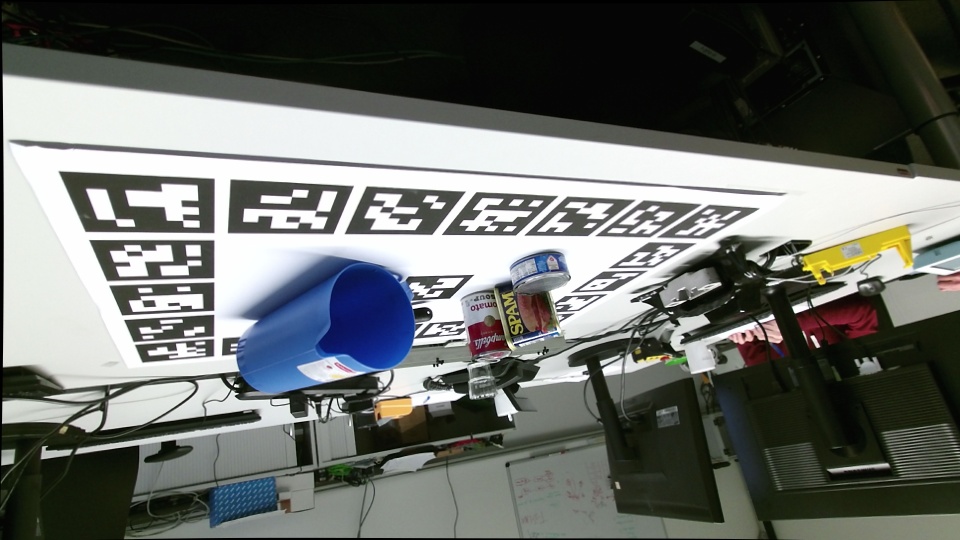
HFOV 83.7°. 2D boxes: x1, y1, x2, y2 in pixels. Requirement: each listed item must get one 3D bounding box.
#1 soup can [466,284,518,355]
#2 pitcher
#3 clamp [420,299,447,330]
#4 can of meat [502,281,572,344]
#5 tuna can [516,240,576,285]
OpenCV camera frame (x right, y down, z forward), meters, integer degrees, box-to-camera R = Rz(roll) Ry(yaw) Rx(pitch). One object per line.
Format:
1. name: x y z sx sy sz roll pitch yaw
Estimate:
1. soup can: 0.021 0.083 0.891 0.068 0.101 0.068 -14 158 -6
2. pitcher: -0.197 0.087 0.722 0.243 0.133 0.189 -22 180 38
3. clamp: -0.152 0.076 0.884 0.166 0.036 0.122 2 158 -26
4. can of meat: 0.091 0.057 0.854 0.084 0.101 0.058 -20 157 6
5. tuna can: 0.098 -0.010 0.793 0.086 0.033 0.086 -12 156 -5
